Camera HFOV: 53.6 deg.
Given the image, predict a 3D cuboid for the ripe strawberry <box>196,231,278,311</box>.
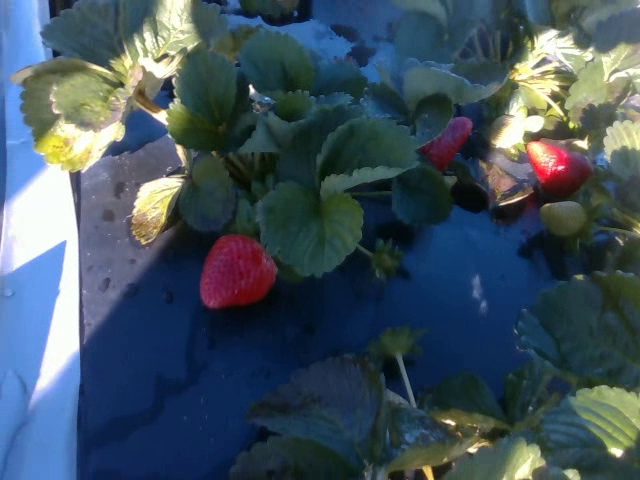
[{"bbox_3d":[-0.049,0.020,0.338,0.045,0.042,0.059,-2,41,40],"label":"ripe strawberry"}]
